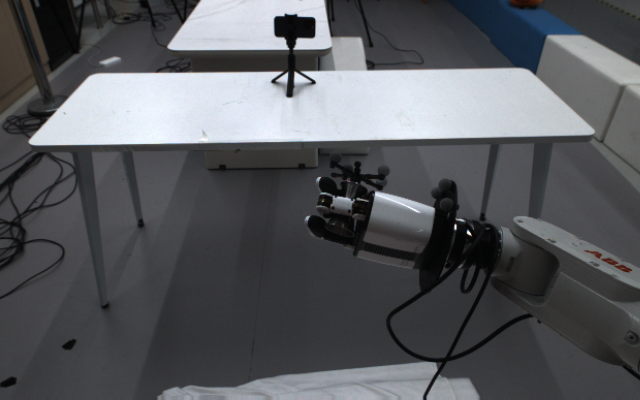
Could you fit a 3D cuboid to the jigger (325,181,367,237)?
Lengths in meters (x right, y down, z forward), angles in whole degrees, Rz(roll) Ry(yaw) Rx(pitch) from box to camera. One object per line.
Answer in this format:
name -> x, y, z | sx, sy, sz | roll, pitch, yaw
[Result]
jigger -> 0.040, 0.012, 0.672 | 0.043, 0.043, 0.071 | 12, 71, 14
